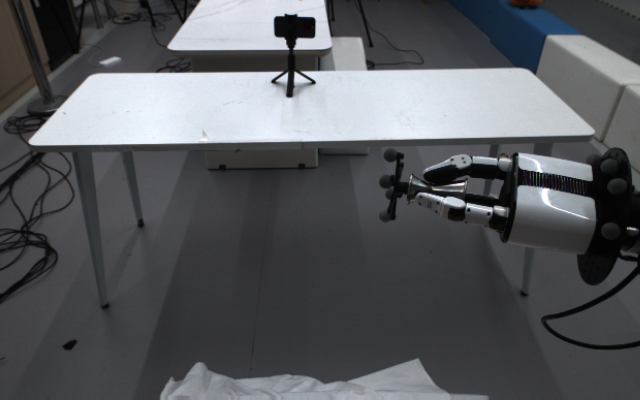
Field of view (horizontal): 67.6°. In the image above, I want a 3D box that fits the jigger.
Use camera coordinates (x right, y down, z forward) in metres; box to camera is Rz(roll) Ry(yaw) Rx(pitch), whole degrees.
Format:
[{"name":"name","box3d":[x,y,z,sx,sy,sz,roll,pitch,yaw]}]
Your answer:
[{"name":"jigger","box3d":[0.152,-0.013,0.603,0.071,0.043,0.043,8,35,15]}]
